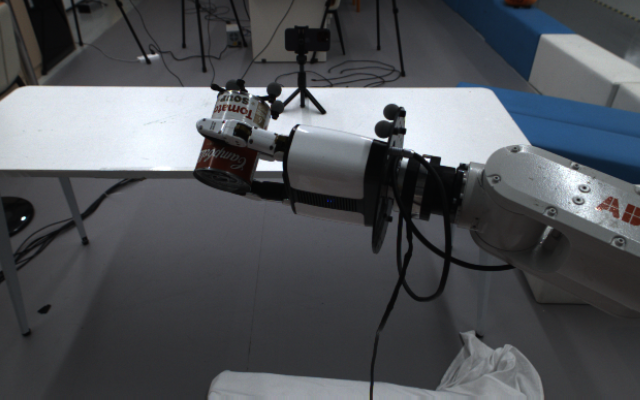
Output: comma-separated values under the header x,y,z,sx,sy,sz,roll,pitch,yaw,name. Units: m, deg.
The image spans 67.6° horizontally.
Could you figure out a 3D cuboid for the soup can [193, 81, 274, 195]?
x,y,z,sx,sy,sz,roll,pitch,yaw,name
-0.100,-0.067,0.566,0.067,0.067,0.101,9,72,10,soup can
